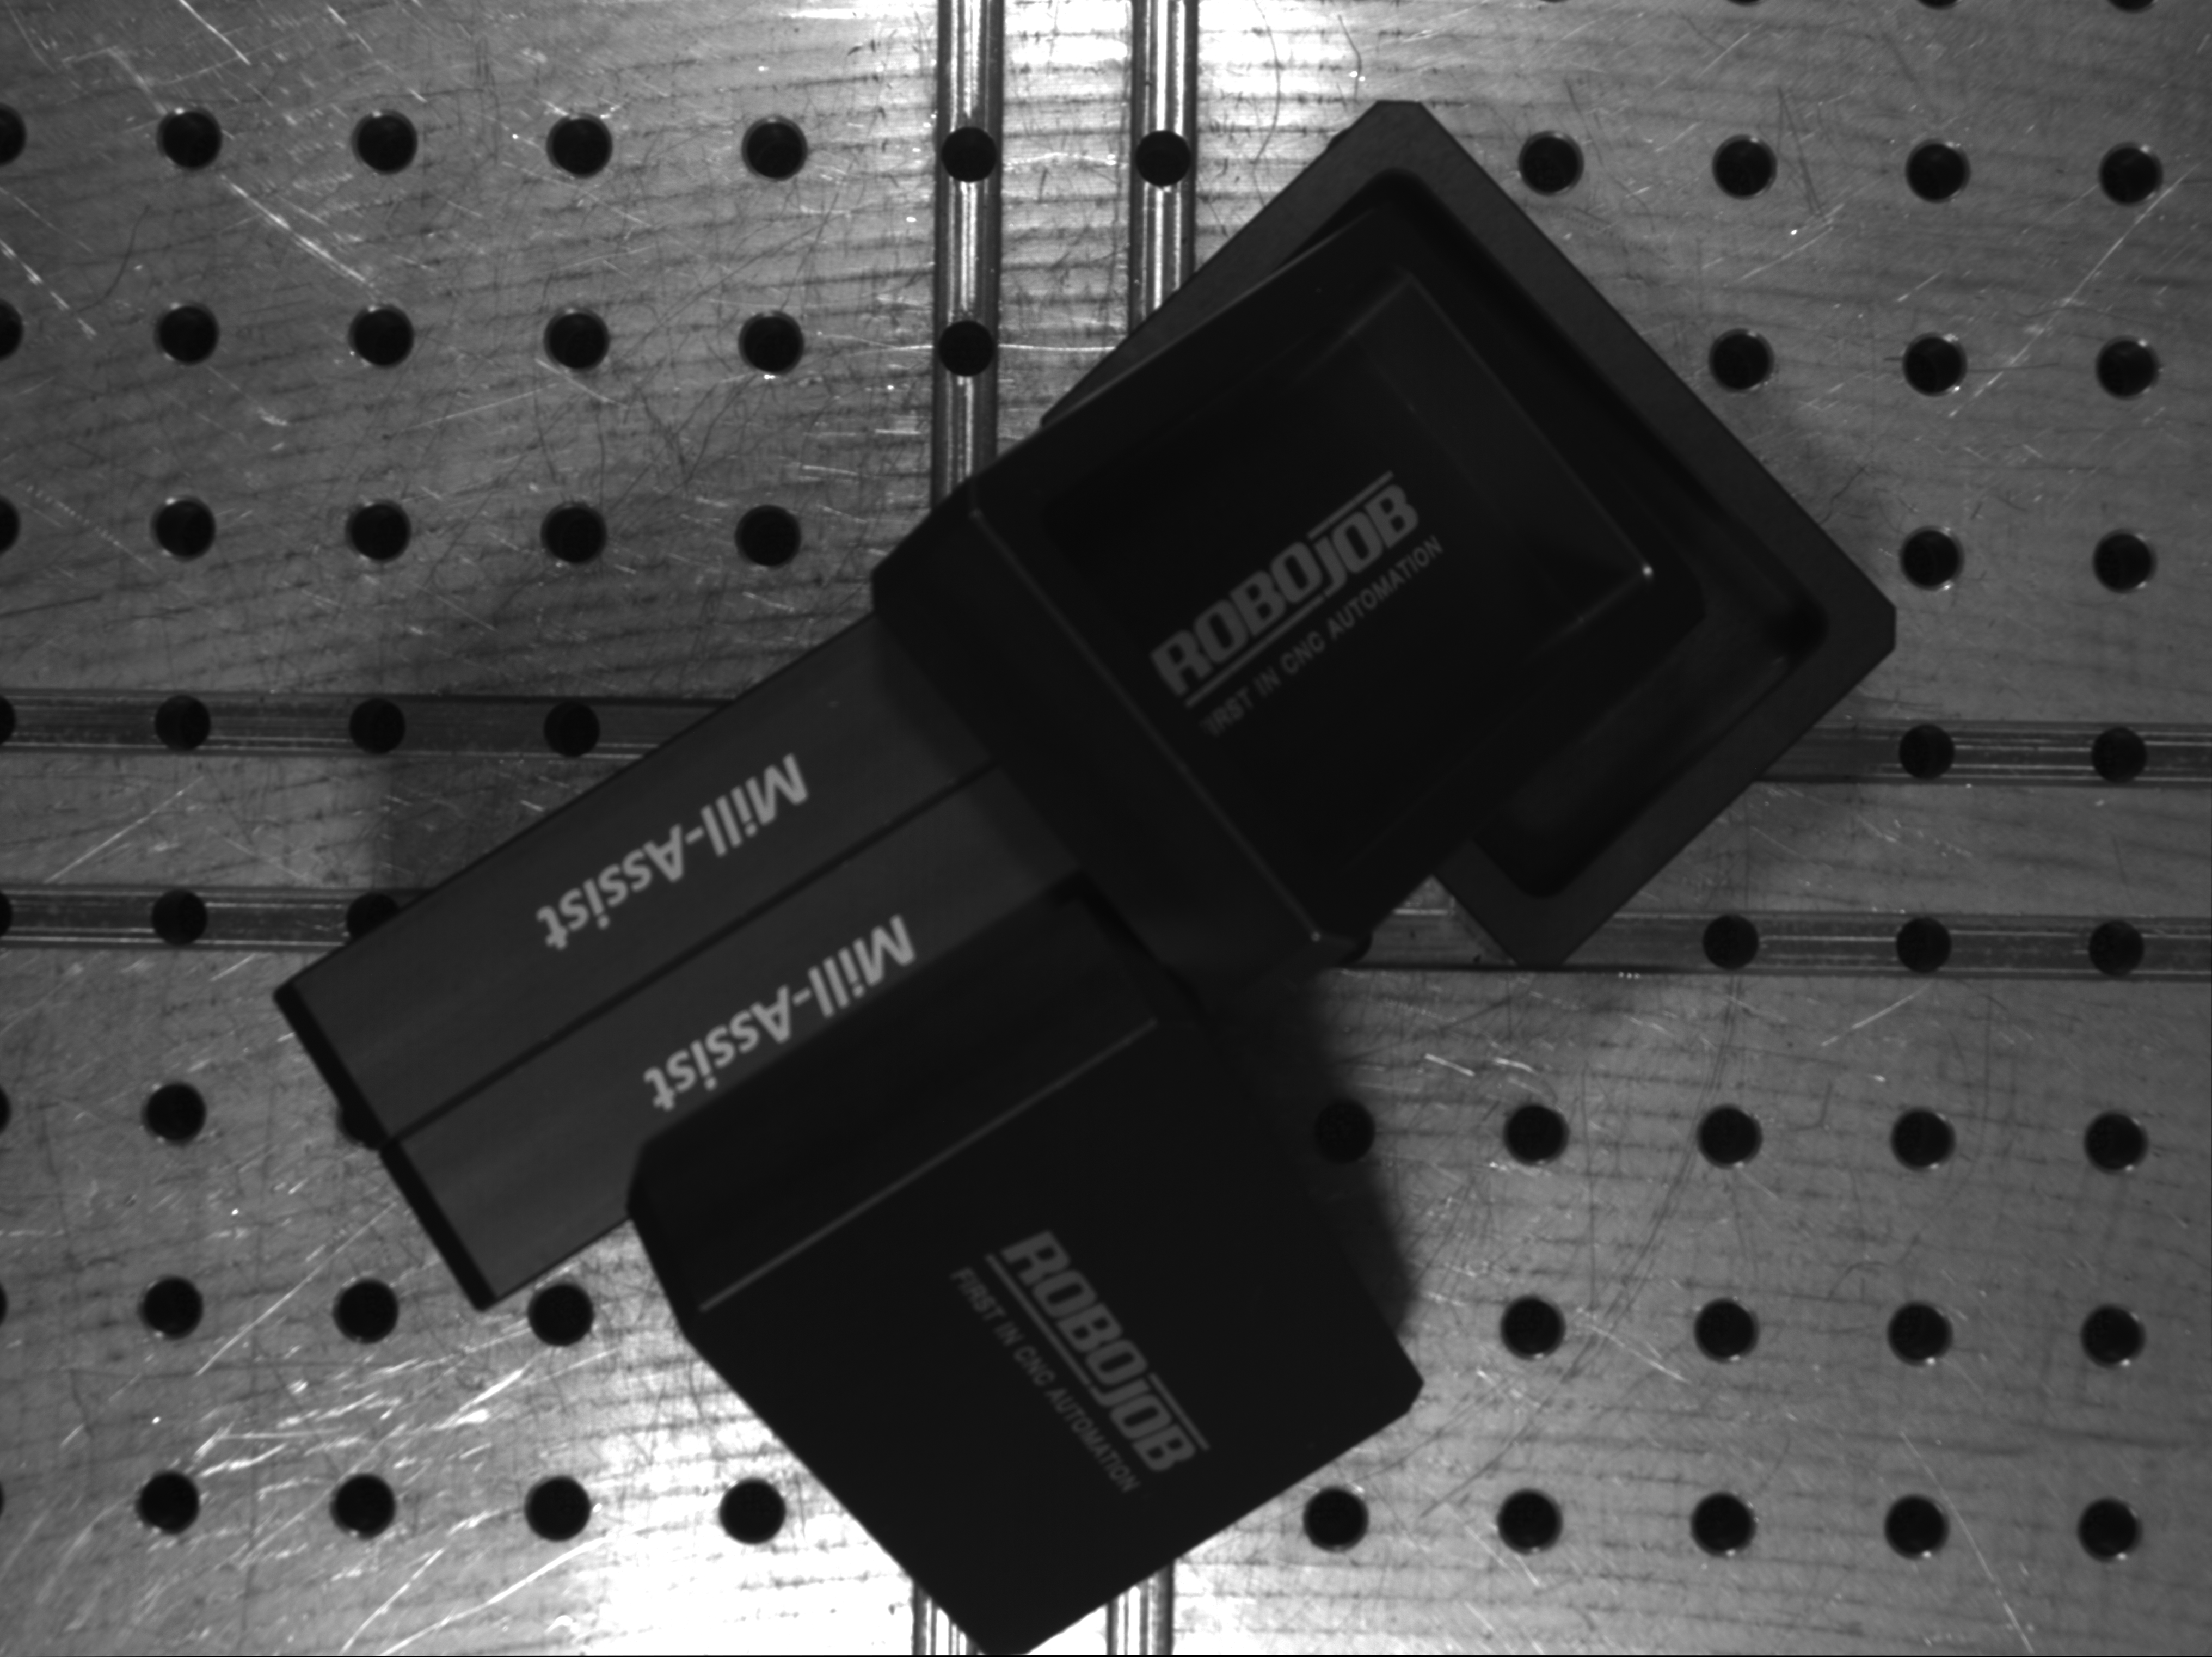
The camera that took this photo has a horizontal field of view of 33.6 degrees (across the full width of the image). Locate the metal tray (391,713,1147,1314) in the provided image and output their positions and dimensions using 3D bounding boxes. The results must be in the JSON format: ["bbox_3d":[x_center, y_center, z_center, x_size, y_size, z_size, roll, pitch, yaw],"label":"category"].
[{"bbox_3d":[-0.050,0.029,0.613,0.130,0.090,0.030,-33,90,0],"label":"metal tray"}]

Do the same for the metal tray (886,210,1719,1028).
[{"bbox_3d":[0.035,-0.037,0.591,0.090,0.030,0.130,51,45,0],"label":"metal tray"}]

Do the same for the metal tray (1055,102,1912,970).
[{"bbox_3d":[0.065,-0.050,0.644,0.090,0.030,0.130,-44,90,0],"label":"metal tray"}]

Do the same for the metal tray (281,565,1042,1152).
[{"bbox_3d":[-0.067,0.004,0.614,0.130,0.090,0.030,-33,90,0],"label":"metal tray"}]

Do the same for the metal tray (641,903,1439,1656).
[{"bbox_3d":[-0.007,0.078,0.601,0.090,0.130,0.030,-32,48,0],"label":"metal tray"}]
